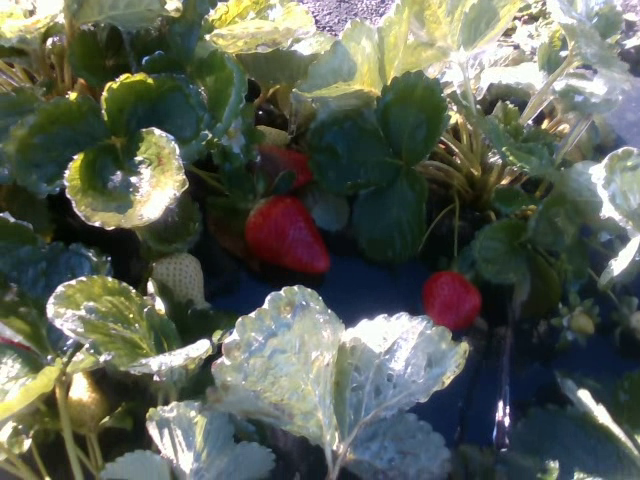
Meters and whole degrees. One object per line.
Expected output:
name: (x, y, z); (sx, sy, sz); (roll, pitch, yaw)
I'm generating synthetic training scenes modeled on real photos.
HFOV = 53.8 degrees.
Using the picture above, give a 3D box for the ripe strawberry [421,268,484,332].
ripe strawberry: (0.071, 0.037, 0.343); (0.039, 0.047, 0.040); (38, -33, -1)

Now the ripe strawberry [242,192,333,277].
ripe strawberry: (-0.015, -0.001, 0.347); (0.044, 0.056, 0.040); (-41, -3, -22)
